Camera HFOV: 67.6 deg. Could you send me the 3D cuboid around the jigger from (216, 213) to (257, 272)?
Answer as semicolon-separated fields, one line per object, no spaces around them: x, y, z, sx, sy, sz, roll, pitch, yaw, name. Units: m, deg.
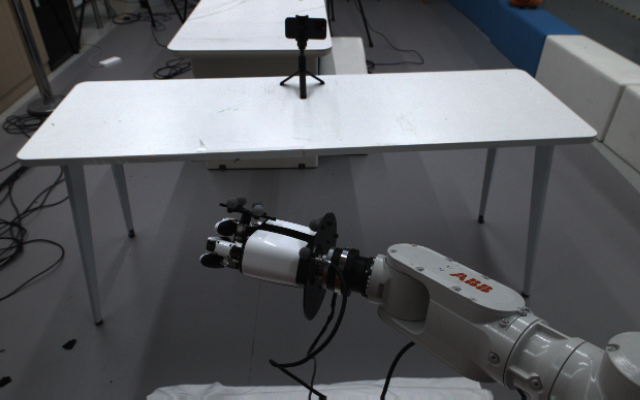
-0.122;0.067;0.735;0.043;0.071;0.043;16;3;-1;jigger
